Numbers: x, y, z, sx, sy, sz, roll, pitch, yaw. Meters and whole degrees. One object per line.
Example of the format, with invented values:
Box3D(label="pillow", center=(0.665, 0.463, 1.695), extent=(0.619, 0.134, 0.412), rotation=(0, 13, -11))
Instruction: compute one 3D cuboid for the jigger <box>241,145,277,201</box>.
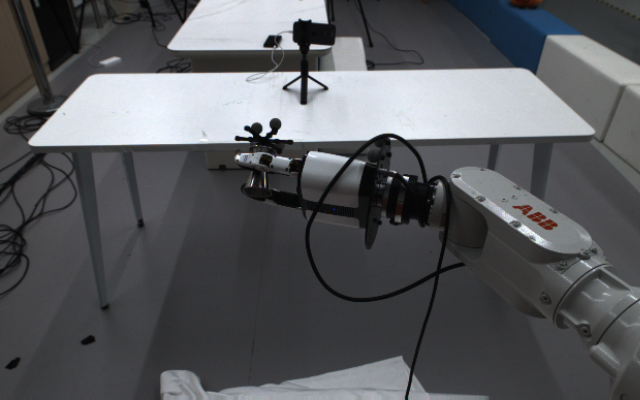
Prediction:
Box3D(label="jigger", center=(-0.091, -0.043, 0.720), extent=(0.043, 0.043, 0.071), rotation=(4, 71, 3))
